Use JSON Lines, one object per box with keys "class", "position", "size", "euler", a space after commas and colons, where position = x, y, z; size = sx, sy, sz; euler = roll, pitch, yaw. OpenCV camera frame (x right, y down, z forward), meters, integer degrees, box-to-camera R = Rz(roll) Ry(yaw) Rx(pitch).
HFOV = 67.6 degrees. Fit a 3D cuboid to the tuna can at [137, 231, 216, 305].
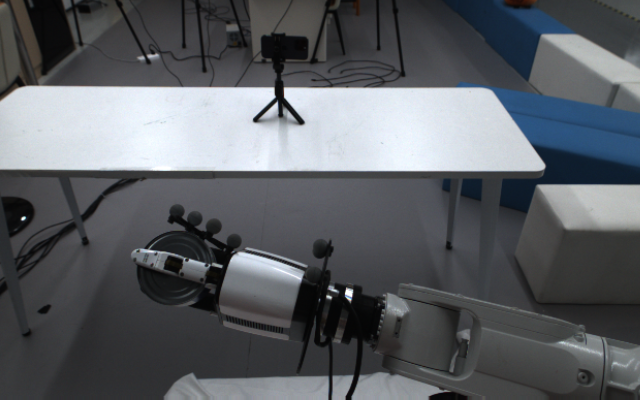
{"class": "tuna can", "position": [-0.162, 0.079, 0.562], "size": [0.085, 0.034, 0.085], "euler": [0, 72, 0]}
